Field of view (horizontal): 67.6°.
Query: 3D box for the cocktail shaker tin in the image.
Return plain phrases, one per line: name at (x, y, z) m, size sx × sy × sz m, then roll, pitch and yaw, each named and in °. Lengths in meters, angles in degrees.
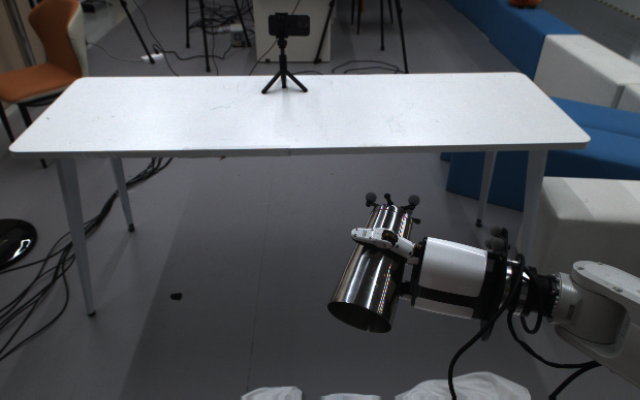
cocktail shaker tin at (0.080, 0.090, 0.695) m, size 0.093 × 0.093 × 0.170 m, roll 14°, pitch 57°, yaw 16°
